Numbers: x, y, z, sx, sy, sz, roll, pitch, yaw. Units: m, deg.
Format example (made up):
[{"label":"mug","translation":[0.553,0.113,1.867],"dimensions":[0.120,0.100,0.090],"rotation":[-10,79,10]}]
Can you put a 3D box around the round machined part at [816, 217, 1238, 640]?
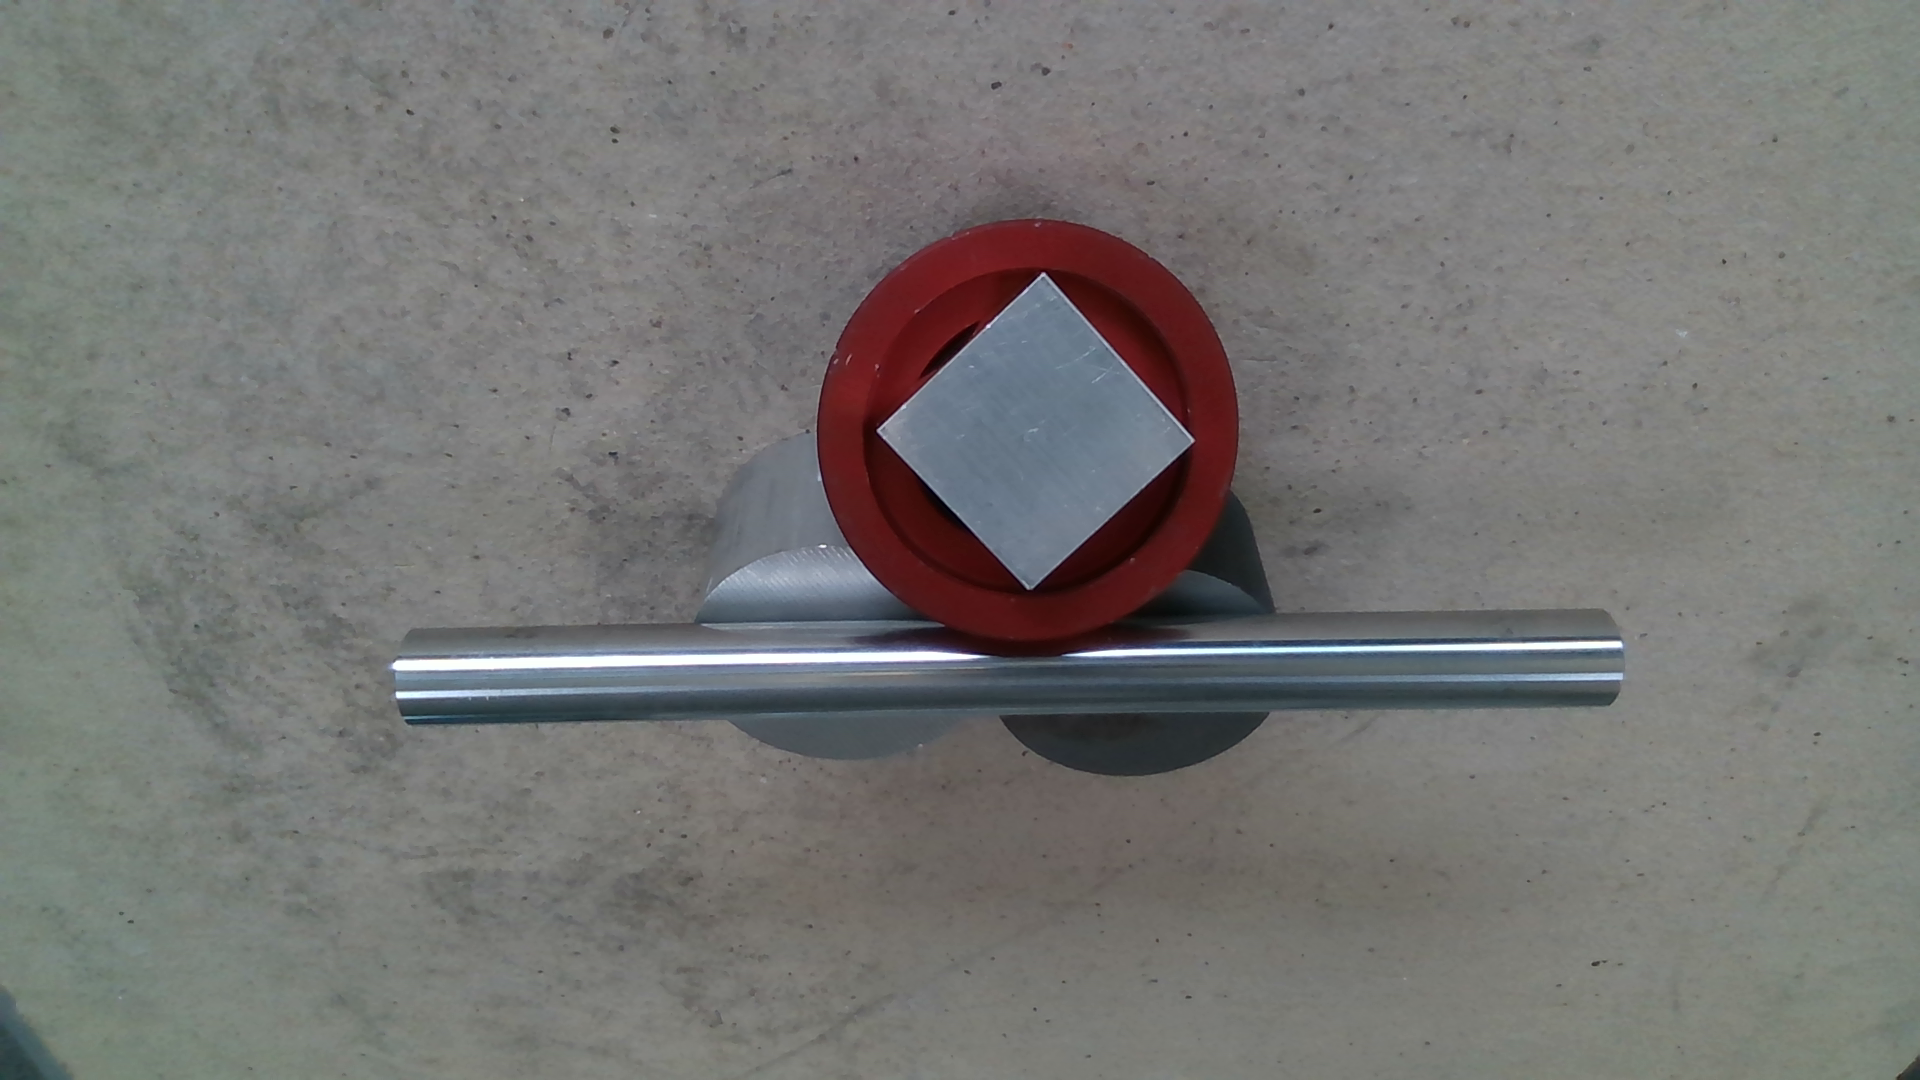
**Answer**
[{"label":"round machined part","translation":[0.015,-0.028,0.337],"dimensions":[0.098,0.042,0.098],"rotation":[0,101,-2]}]

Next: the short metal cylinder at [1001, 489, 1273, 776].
[{"label":"short metal cylinder","translation":[0.048,0.021,0.391],"dimensions":[0.080,0.050,0.080],"rotation":[0,130,0]}]

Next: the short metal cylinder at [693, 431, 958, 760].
[{"label":"short metal cylinder","translation":[-0.033,0.016,0.386],"dimensions":[0.080,0.050,0.080],"rotation":[-1,130,-1]}]

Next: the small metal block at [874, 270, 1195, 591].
[{"label":"small metal block","translation":[0.016,-0.026,0.314],"dimensions":[0.050,0.025,0.050],"rotation":[-43,100,6]}]

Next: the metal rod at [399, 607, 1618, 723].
[{"label":"metal rod","translation":[0.012,0.032,0.351],"dimensions":[0.300,0.025,0.025],"rotation":[-1,130,0]}]
